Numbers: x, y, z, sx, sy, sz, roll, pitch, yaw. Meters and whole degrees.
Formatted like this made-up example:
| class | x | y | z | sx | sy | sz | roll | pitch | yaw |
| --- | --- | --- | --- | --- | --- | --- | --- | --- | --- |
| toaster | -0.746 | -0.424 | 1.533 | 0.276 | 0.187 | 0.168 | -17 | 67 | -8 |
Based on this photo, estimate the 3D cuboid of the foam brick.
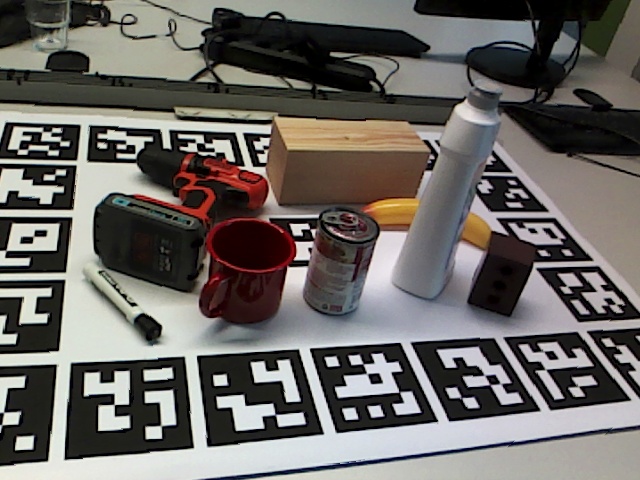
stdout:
| class | x | y | z | sx | sy | sz | roll | pitch | yaw |
| --- | --- | --- | --- | --- | --- | --- | --- | --- | --- |
| foam brick | 0.213 | 0.042 | 0.734 | 0.053 | 0.078 | 0.051 | 18 | 34 | 11 |

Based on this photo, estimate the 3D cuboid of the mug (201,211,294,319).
| class | x | y | z | sx | sy | sz | roll | pitch | yaw |
| --- | --- | --- | --- | --- | --- | --- | --- | --- | --- |
| mug | -0.085 | 0.035 | 0.647 | 0.093 | 0.081 | 0.117 | 27 | 41 | 16 |

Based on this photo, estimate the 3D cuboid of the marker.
| class | x | y | z | sx | sy | sz | roll | pitch | yaw |
| --- | --- | --- | --- | --- | --- | --- | --- | --- | --- |
| marker | -0.200 | 0.065 | 0.630 | 0.019 | 0.019 | 0.122 | -26 | 51 | -38 |

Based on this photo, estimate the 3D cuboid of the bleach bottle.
| class | x | y | z | sx | sy | sz | roll | pitch | yaw |
| --- | --- | --- | --- | --- | --- | --- | --- | --- | --- |
| bleach bottle | 0.142 | -0.055 | 0.695 | 0.068 | 0.250 | 0.102 | 16 | 34 | 6 |

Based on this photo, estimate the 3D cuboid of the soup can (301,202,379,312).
| class | x | y | z | sx | sy | sz | roll | pitch | yaw |
| --- | --- | --- | --- | --- | --- | --- | --- | --- | --- |
| soup can | 0.019 | 0.019 | 0.674 | 0.068 | 0.102 | 0.068 | 9 | 31 | -6 |

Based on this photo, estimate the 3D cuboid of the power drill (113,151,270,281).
| class | x | y | z | sx | sy | sz | roll | pitch | yaw |
| --- | --- | --- | --- | --- | --- | --- | --- | --- | --- |
| power drill | -0.170 | -0.039 | 0.754 | 0.185 | 0.057 | 0.187 | 19 | 35 | 4 |

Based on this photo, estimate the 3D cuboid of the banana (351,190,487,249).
| class | x | y | z | sx | sy | sz | roll | pitch | yaw |
| --- | --- | --- | --- | --- | --- | --- | --- | --- | --- |
| banana | 0.131 | -0.036 | 0.844 | 0.197 | 0.039 | 0.074 | 11 | 49 | -6 |

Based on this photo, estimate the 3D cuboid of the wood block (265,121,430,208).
| class | x | y | z | sx | sy | sz | roll | pitch | yaw |
| --- | --- | --- | --- | --- | --- | --- | --- | --- | --- |
| wood block | 0.036 | -0.106 | 0.875 | 0.205 | 0.091 | 0.090 | -1 | 39 | -18 |
